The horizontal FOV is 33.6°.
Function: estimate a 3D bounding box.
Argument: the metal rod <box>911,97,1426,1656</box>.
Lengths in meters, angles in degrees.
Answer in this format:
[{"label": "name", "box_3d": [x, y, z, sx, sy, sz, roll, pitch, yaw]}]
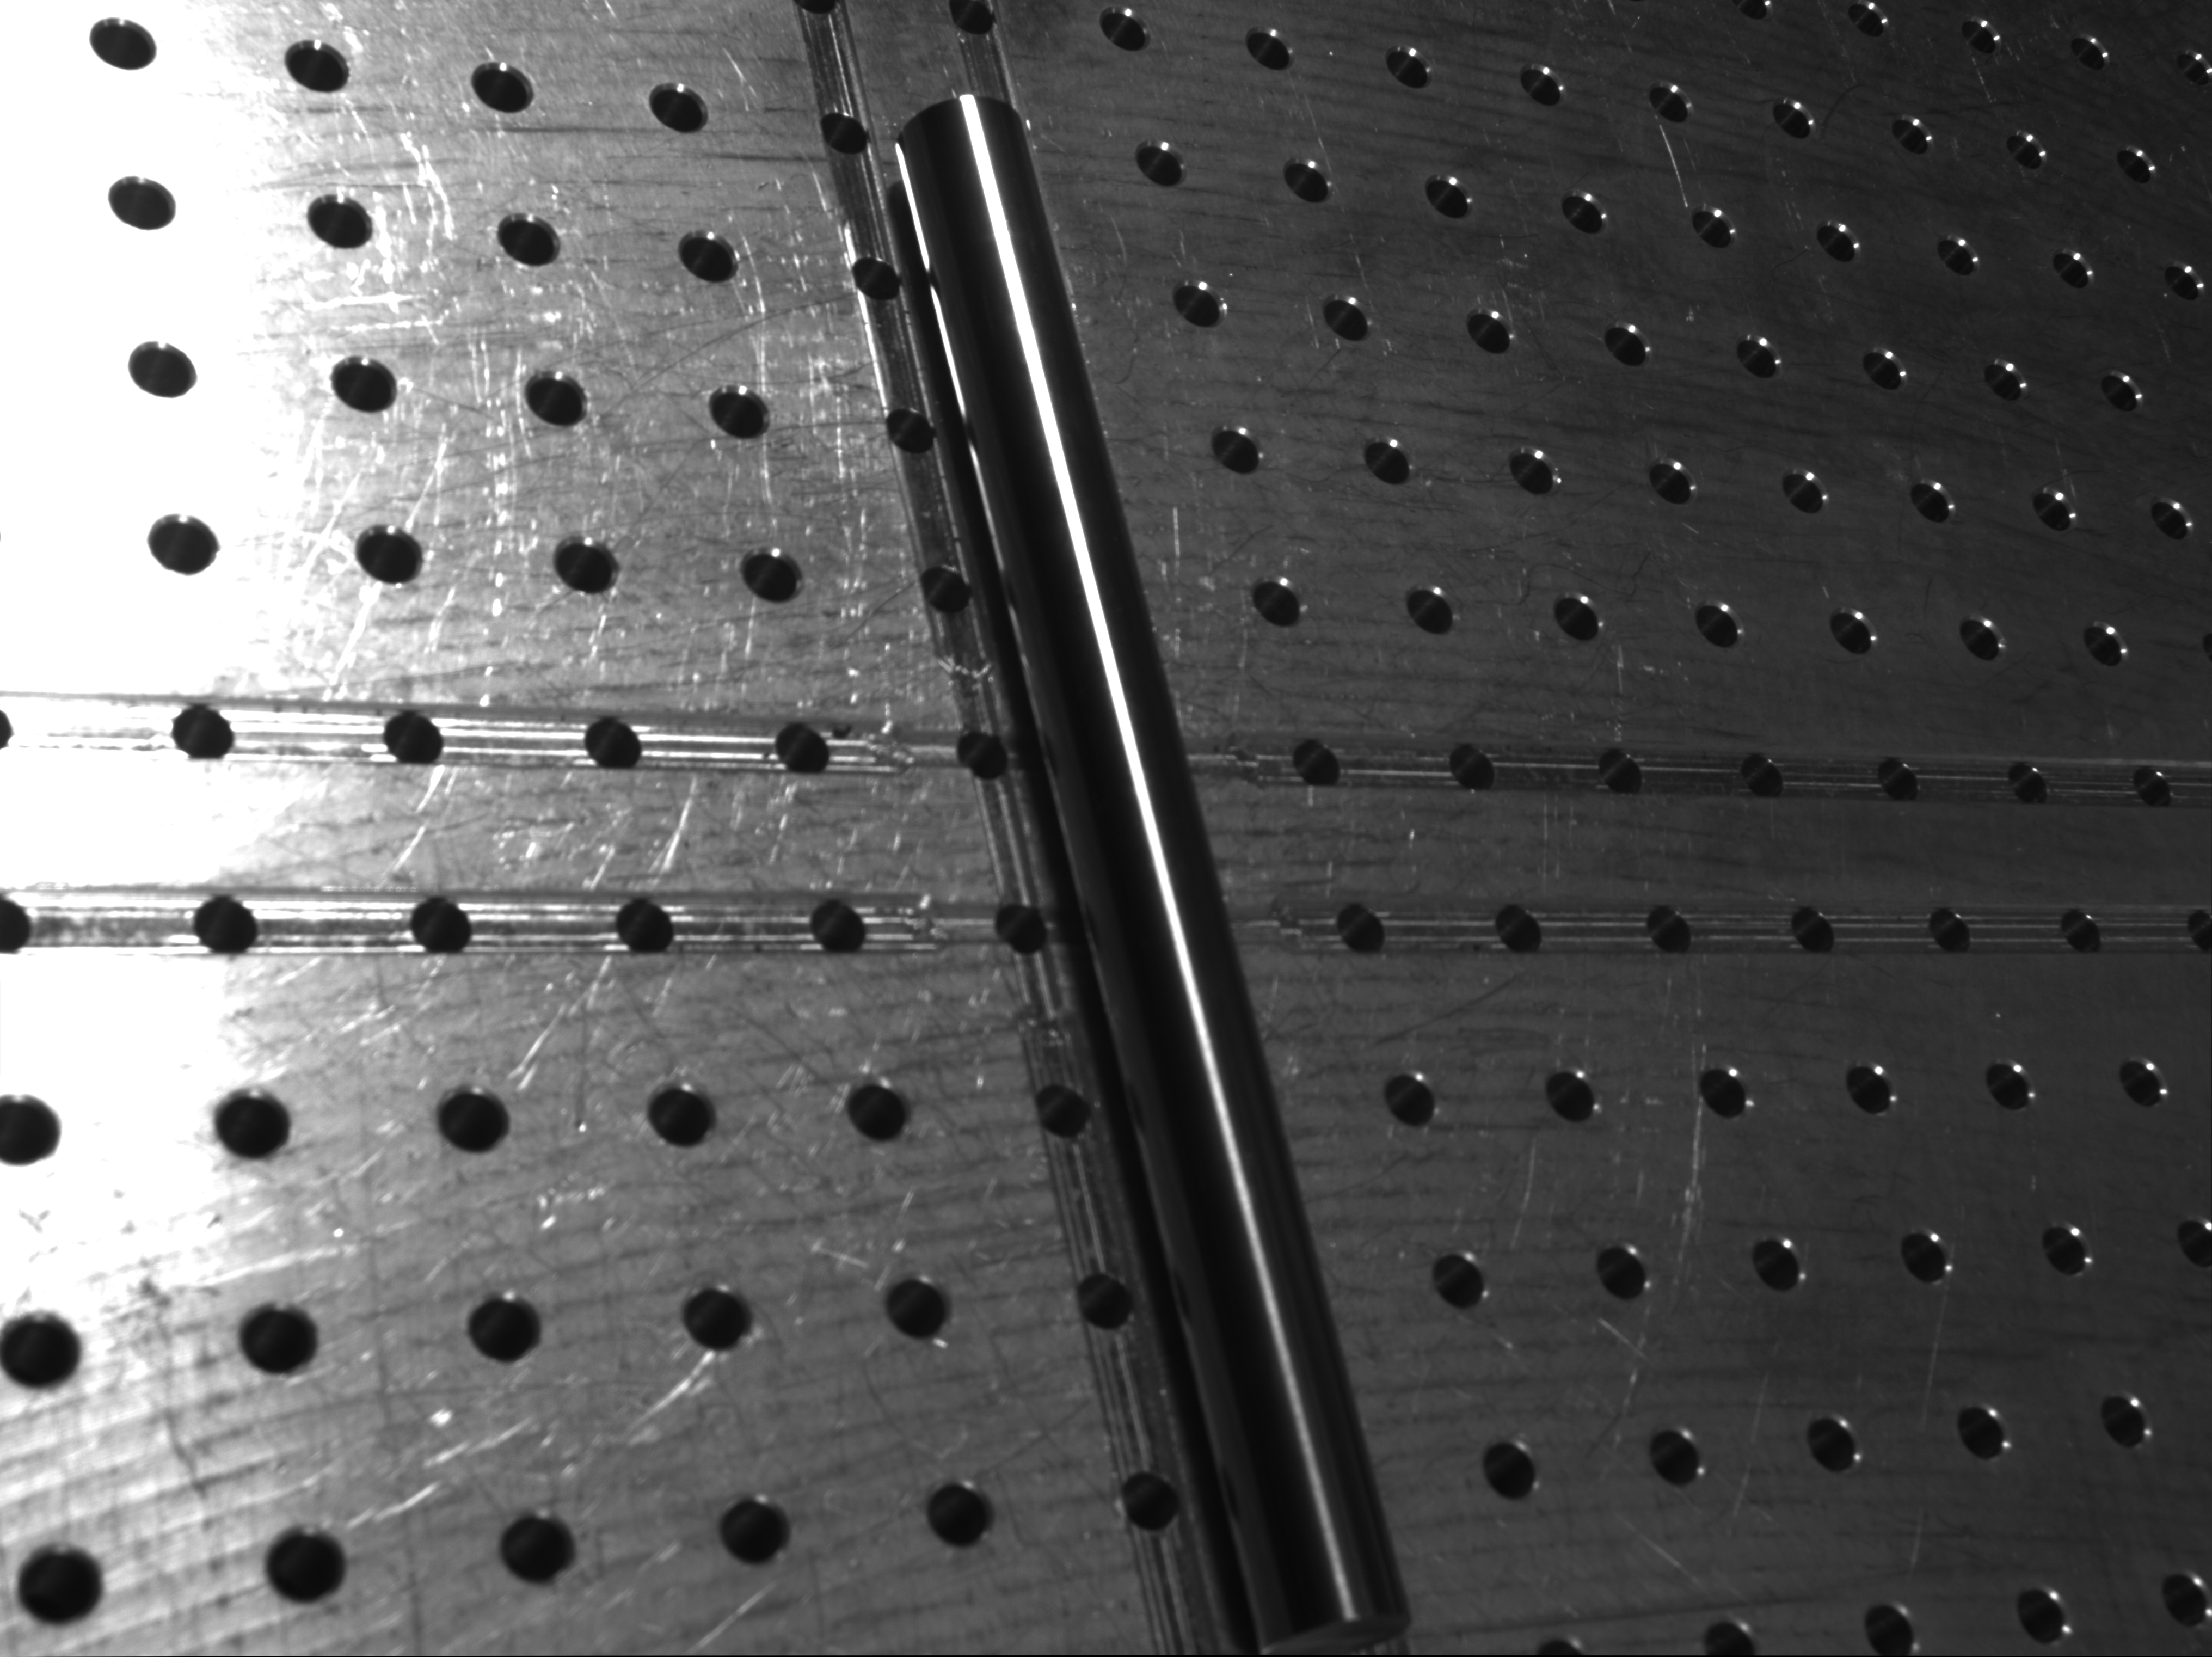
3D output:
[{"label": "metal rod", "box_3d": [0.007, -0.002, 0.648, 0.025, 0.025, 0.300, 1, 61, -28]}]
